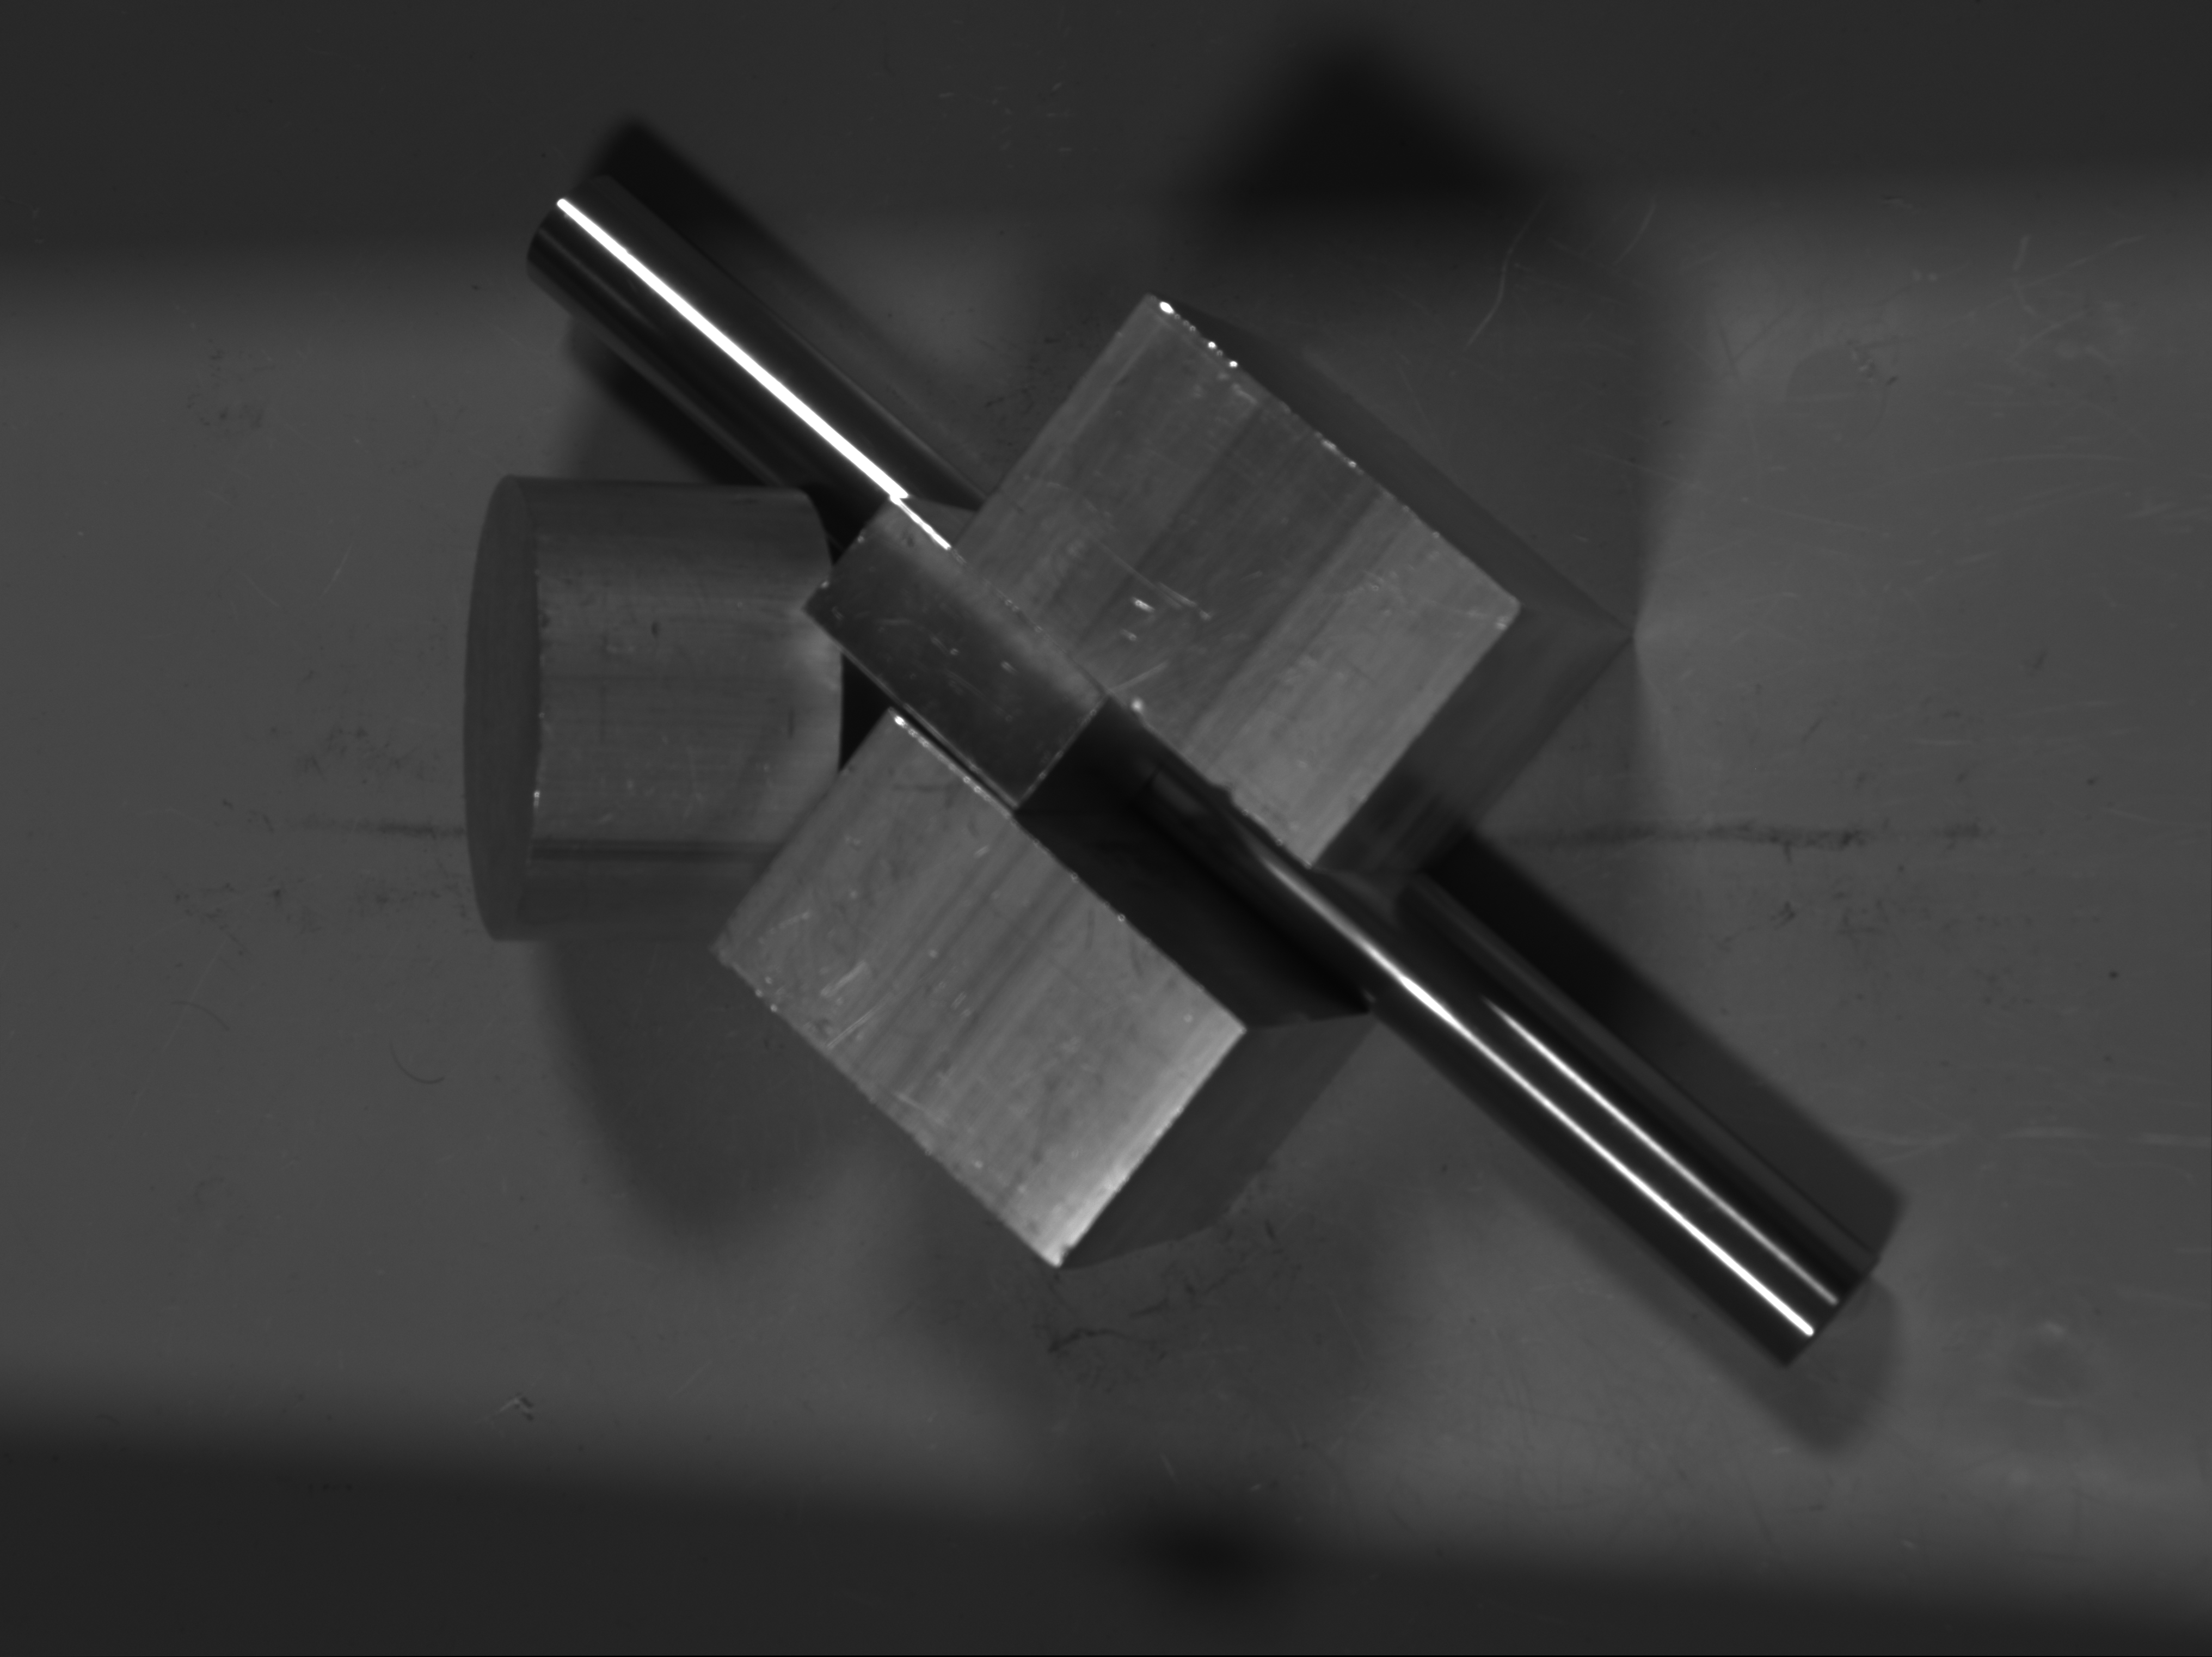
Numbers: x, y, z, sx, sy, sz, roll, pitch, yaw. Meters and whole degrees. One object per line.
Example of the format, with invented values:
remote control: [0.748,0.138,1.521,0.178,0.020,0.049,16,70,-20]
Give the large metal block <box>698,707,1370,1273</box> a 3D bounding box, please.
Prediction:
large metal block: [-0.009,0.025,0.618,0.080,0.080,0.050,41,103,15]

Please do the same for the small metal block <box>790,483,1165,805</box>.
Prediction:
small metal block: [-0.018,-0.030,0.612,0.050,0.050,0.025,43,103,15]

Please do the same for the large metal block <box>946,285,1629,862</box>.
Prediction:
large metal block: [0.032,-0.040,0.604,0.080,0.080,0.050,42,103,15]

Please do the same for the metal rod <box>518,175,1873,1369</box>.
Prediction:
metal rod: [0.009,-0.016,0.641,0.300,0.025,0.025,41,103,15]

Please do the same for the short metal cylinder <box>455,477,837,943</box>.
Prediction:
short metal cylinder: [-0.082,-0.020,0.637,0.050,0.080,0.080,1,90,-20]
